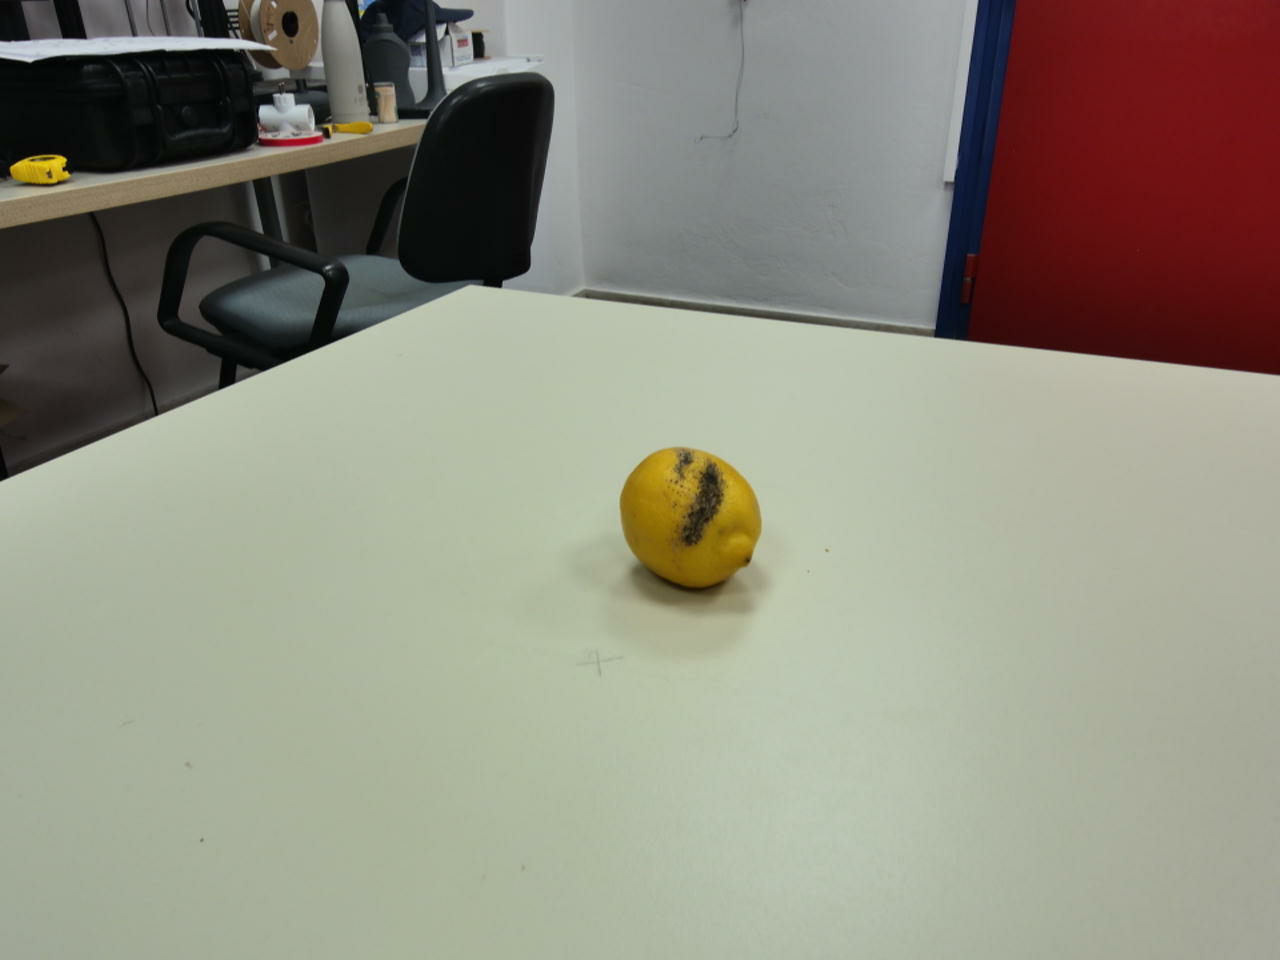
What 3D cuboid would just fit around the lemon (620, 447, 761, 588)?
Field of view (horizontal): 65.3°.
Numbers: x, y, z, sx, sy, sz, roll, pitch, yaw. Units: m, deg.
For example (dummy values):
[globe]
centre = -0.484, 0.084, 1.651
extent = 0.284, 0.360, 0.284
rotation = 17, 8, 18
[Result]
[lemon]
centre = 0.021, 0.016, 0.424
extent = 0.061, 0.056, 0.058
rotation = 8, 25, 17
